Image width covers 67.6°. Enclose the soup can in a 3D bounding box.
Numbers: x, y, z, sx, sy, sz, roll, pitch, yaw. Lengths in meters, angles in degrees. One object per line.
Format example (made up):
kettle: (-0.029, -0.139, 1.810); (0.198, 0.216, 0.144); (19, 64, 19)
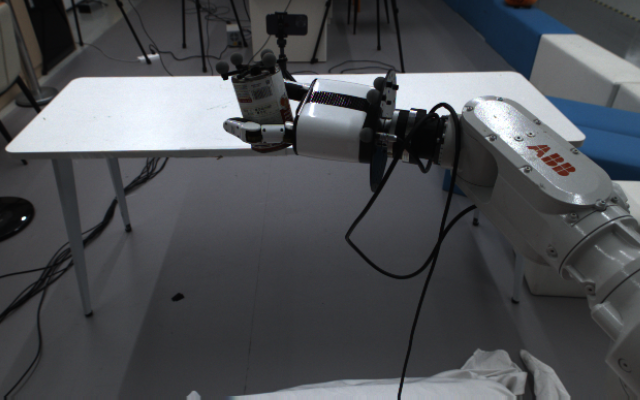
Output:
soup can: (-0.072, -0.123, 0.649); (0.067, 0.101, 0.067); (-11, 27, 6)
